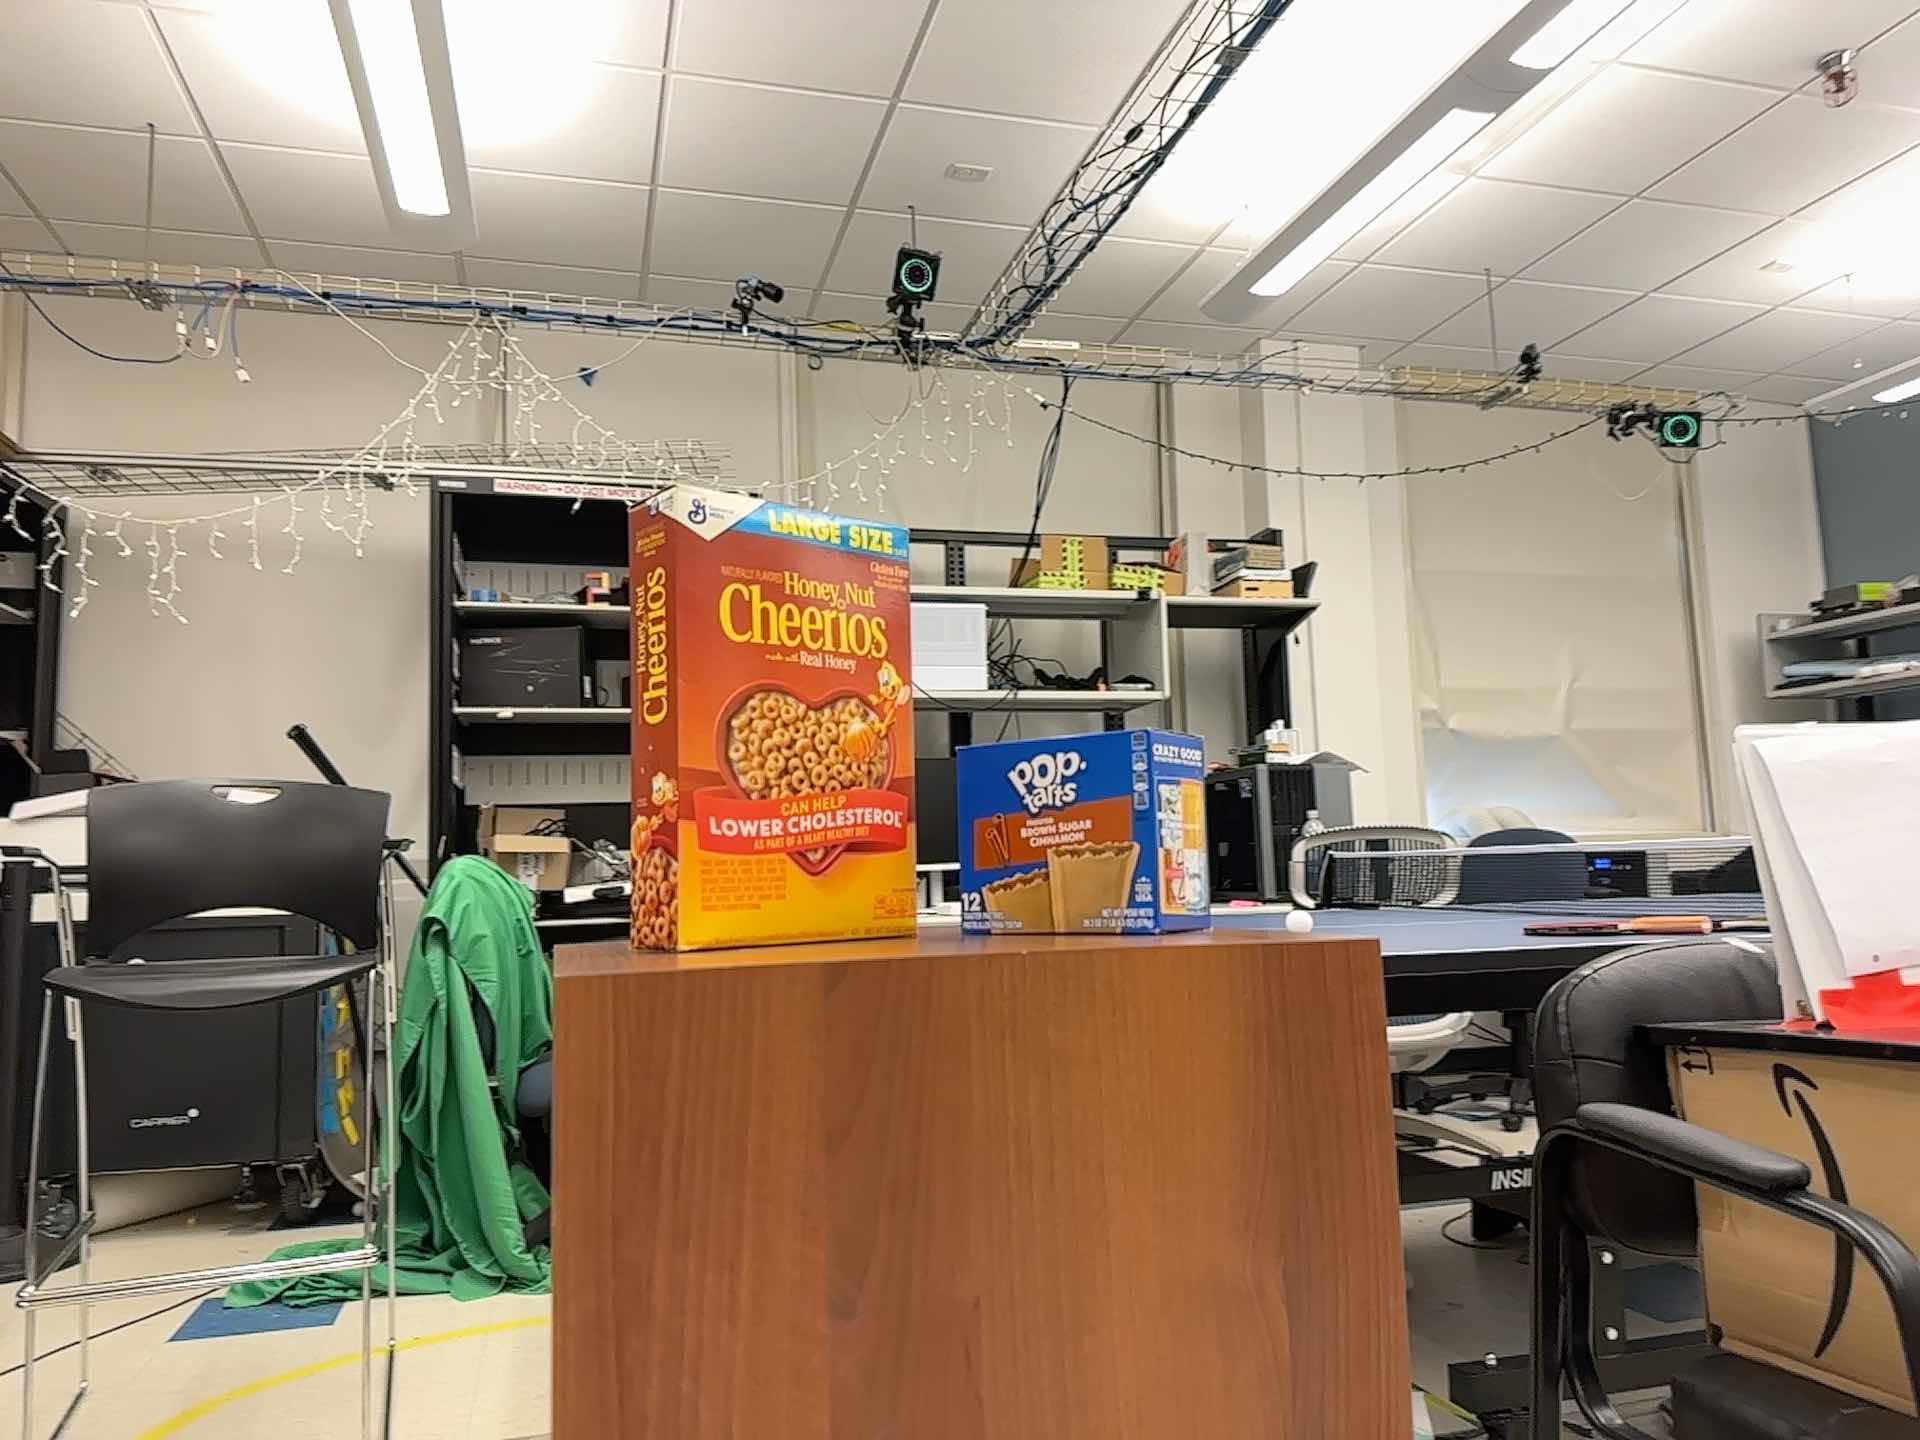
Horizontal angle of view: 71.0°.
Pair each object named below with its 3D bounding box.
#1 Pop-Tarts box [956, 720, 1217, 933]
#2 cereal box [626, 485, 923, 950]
[{"bbox_3d":[0.087,0.080,0.968,0.161,0.135,0.075,-7,-10,36],"label":"Pop-Tarts box"},{"bbox_3d":[-0.128,0.003,0.948,0.195,0.297,0.065,6,-11,-44],"label":"cereal box"}]
